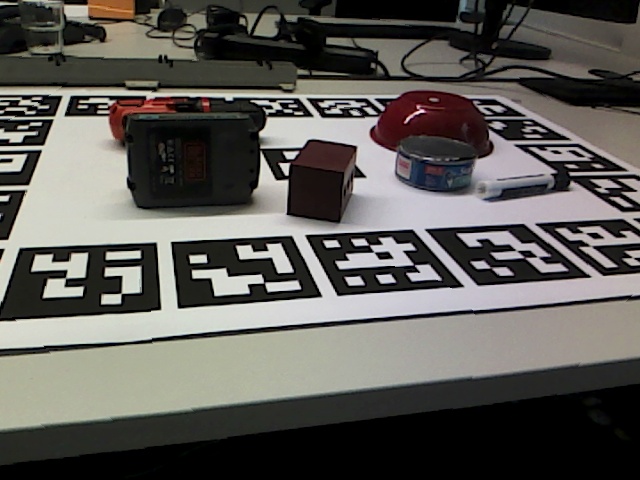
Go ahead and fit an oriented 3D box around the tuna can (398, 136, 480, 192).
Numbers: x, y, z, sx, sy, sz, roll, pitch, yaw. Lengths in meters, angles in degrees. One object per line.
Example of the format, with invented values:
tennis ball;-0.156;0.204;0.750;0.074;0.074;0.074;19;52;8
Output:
tuna can;0.130;-0.085;0.682;0.085;0.033;0.086;6;27;-4

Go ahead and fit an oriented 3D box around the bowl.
bowl;0.141;-0.149;0.805;0.161;0.055;0.162;0;22;0

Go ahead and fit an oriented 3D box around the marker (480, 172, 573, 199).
marker;0.225;-0.059;0.666;0.120;0.019;0.020;-8;33;-25

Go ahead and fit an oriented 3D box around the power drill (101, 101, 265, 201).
power drill;-0.132;-0.101;0.650;0.184;0.057;0.188;-1;26;-19

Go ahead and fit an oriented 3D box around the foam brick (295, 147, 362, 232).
foam brick;0.009;-0.049;0.590;0.051;0.052;0.078;9;29;4
